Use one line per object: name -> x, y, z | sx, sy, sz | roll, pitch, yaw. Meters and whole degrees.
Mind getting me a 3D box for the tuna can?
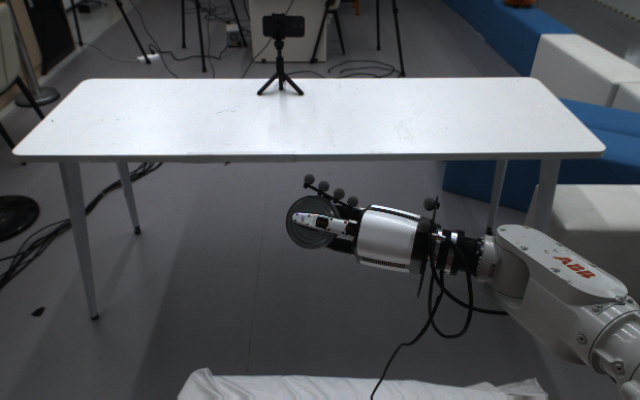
tuna can -> -0.008, 0.037, 0.776 | 0.085, 0.085, 0.034 | 10, -4, 11
